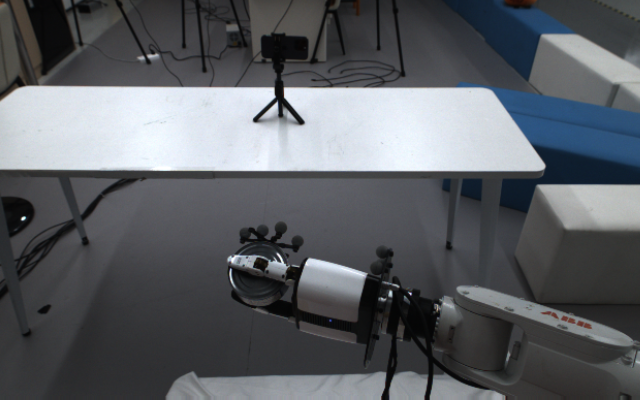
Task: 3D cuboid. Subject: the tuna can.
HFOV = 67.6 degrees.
[{"bbox_3d":[-0.083,0.102,0.675,0.085,0.034,0.085,-2,58,4],"label":"tuna can"}]
